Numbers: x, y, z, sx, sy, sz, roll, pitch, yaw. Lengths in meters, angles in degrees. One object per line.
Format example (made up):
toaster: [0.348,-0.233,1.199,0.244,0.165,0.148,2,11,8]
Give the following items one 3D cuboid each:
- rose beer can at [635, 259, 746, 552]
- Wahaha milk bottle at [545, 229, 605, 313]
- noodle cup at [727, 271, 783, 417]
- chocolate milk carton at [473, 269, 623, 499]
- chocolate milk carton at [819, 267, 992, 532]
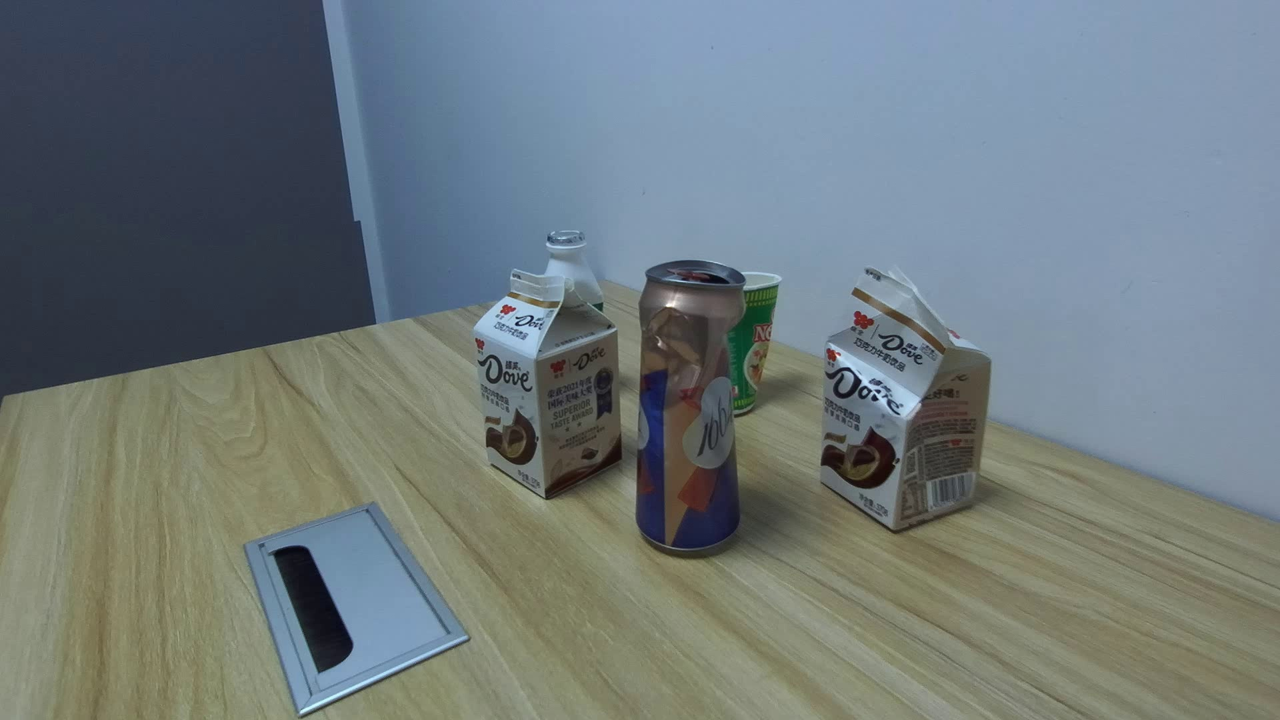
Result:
rose beer can: [0.031,0.030,0.415,0.065,0.167,0.076,14,24,29]
Wahaha milk bottle: [-0.065,-0.046,0.630,0.056,0.148,0.056,1,37,0]
noodle cup: [0.065,-0.015,0.601,0.115,0.111,0.070,-2,22,-4]
chocolate milk carton: [-0.064,0.008,0.497,0.074,0.148,0.075,-23,32,-39]
chocolate milk carton: [0.167,0.019,0.448,0.074,0.156,0.076,-14,26,-22]
